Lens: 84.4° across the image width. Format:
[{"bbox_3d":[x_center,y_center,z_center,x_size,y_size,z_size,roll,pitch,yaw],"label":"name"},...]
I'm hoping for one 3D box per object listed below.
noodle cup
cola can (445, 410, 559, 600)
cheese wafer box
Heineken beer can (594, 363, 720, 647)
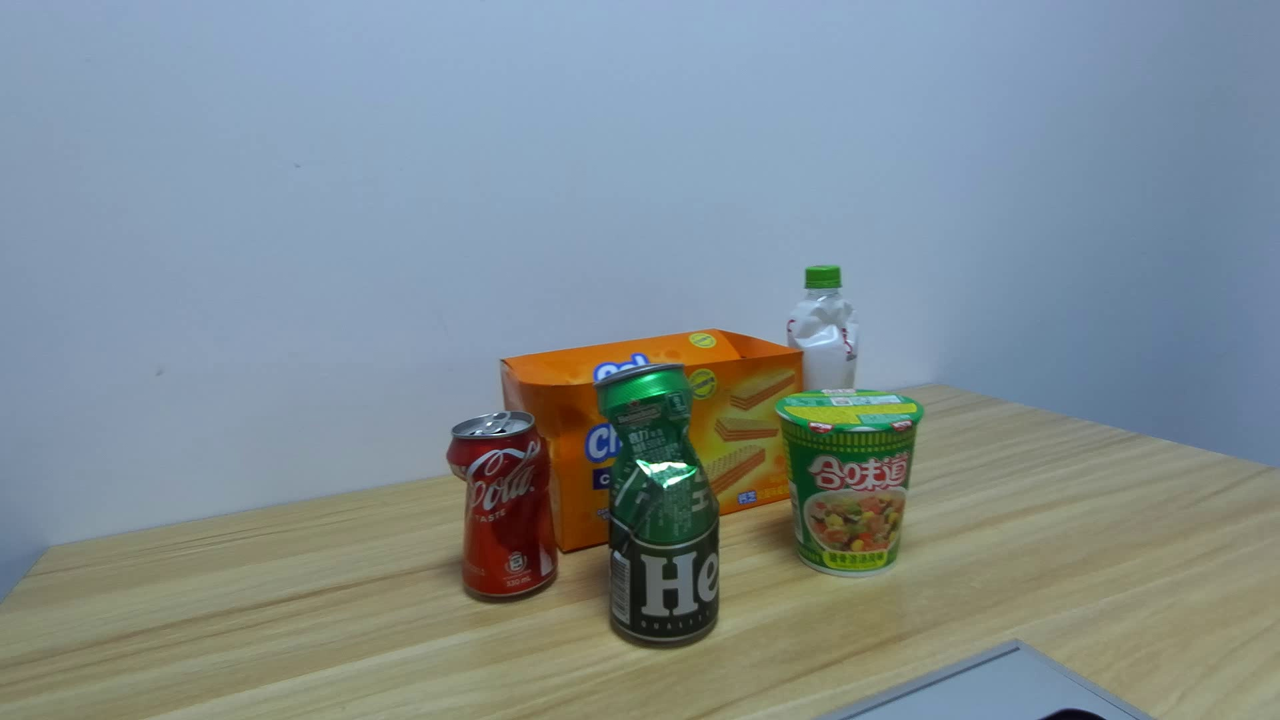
[{"bbox_3d":[0.141,0.083,0.485,0.097,0.110,0.097,-2,13,1],"label":"noodle cup"},{"bbox_3d":[-0.092,0.096,0.478,0.066,0.117,0.066,-10,12,-30],"label":"cola can"},{"bbox_3d":[0.009,0.058,0.607,0.231,0.132,0.151,-7,14,-22],"label":"cheese wafer box"},{"bbox_3d":[0.012,0.083,0.418,0.078,0.159,0.067,-3,5,41],"label":"Heineken beer can"}]
